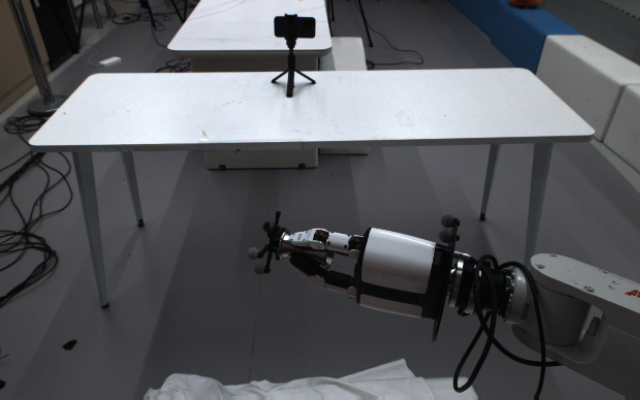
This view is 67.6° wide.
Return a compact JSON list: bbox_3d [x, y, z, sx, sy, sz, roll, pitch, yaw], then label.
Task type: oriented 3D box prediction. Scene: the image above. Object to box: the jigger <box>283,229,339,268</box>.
[{"bbox_3d":[-0.011,0.062,0.658,0.071,0.043,0.043,9,35,16],"label":"jigger"}]
